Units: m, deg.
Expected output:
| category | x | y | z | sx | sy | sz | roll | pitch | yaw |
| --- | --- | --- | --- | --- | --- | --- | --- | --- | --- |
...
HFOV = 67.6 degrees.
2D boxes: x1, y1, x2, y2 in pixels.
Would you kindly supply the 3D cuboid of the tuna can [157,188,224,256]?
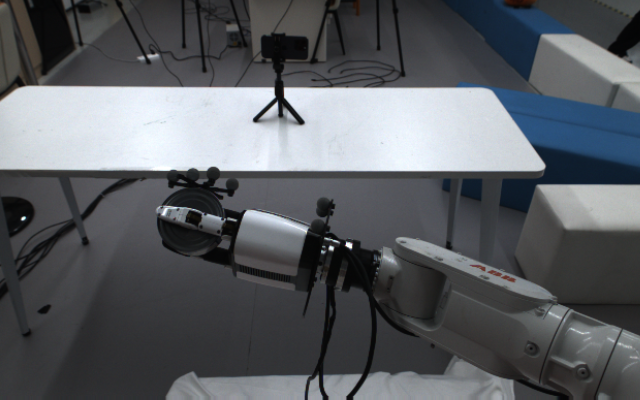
| category | x | y | z | sx | sy | sz | roll | pitch | yaw |
| --- | --- | --- | --- | --- | --- | --- | --- | --- | --- |
| tuna can | -0.164 | 0.029 | 0.631 | 0.085 | 0.034 | 0.085 | 1 | 73 | -2 |
